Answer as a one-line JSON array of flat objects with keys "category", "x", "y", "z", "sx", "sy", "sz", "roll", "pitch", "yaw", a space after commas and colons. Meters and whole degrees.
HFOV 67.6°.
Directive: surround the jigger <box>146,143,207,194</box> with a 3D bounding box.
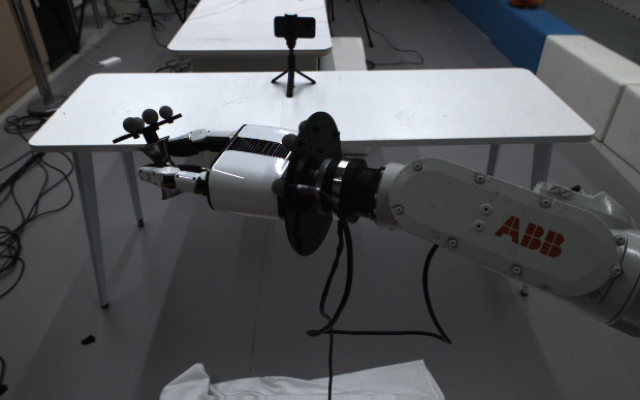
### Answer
[{"category": "jigger", "x": -0.185, "y": -0.041, "z": 0.598, "sx": 0.043, "sy": 0.071, "sz": 0.043, "roll": -21, "pitch": 16, "yaw": 6}]
